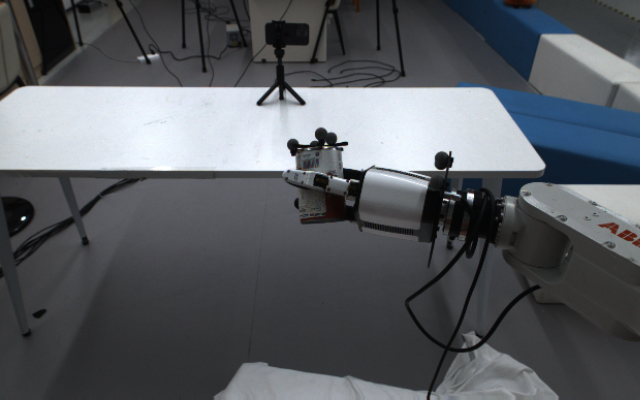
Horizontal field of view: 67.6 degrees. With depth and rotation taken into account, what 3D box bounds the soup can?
[{"bbox_3d":[0.003,-0.019,0.682,0.067,0.101,0.067,-5,-5,0],"label":"soup can"}]
